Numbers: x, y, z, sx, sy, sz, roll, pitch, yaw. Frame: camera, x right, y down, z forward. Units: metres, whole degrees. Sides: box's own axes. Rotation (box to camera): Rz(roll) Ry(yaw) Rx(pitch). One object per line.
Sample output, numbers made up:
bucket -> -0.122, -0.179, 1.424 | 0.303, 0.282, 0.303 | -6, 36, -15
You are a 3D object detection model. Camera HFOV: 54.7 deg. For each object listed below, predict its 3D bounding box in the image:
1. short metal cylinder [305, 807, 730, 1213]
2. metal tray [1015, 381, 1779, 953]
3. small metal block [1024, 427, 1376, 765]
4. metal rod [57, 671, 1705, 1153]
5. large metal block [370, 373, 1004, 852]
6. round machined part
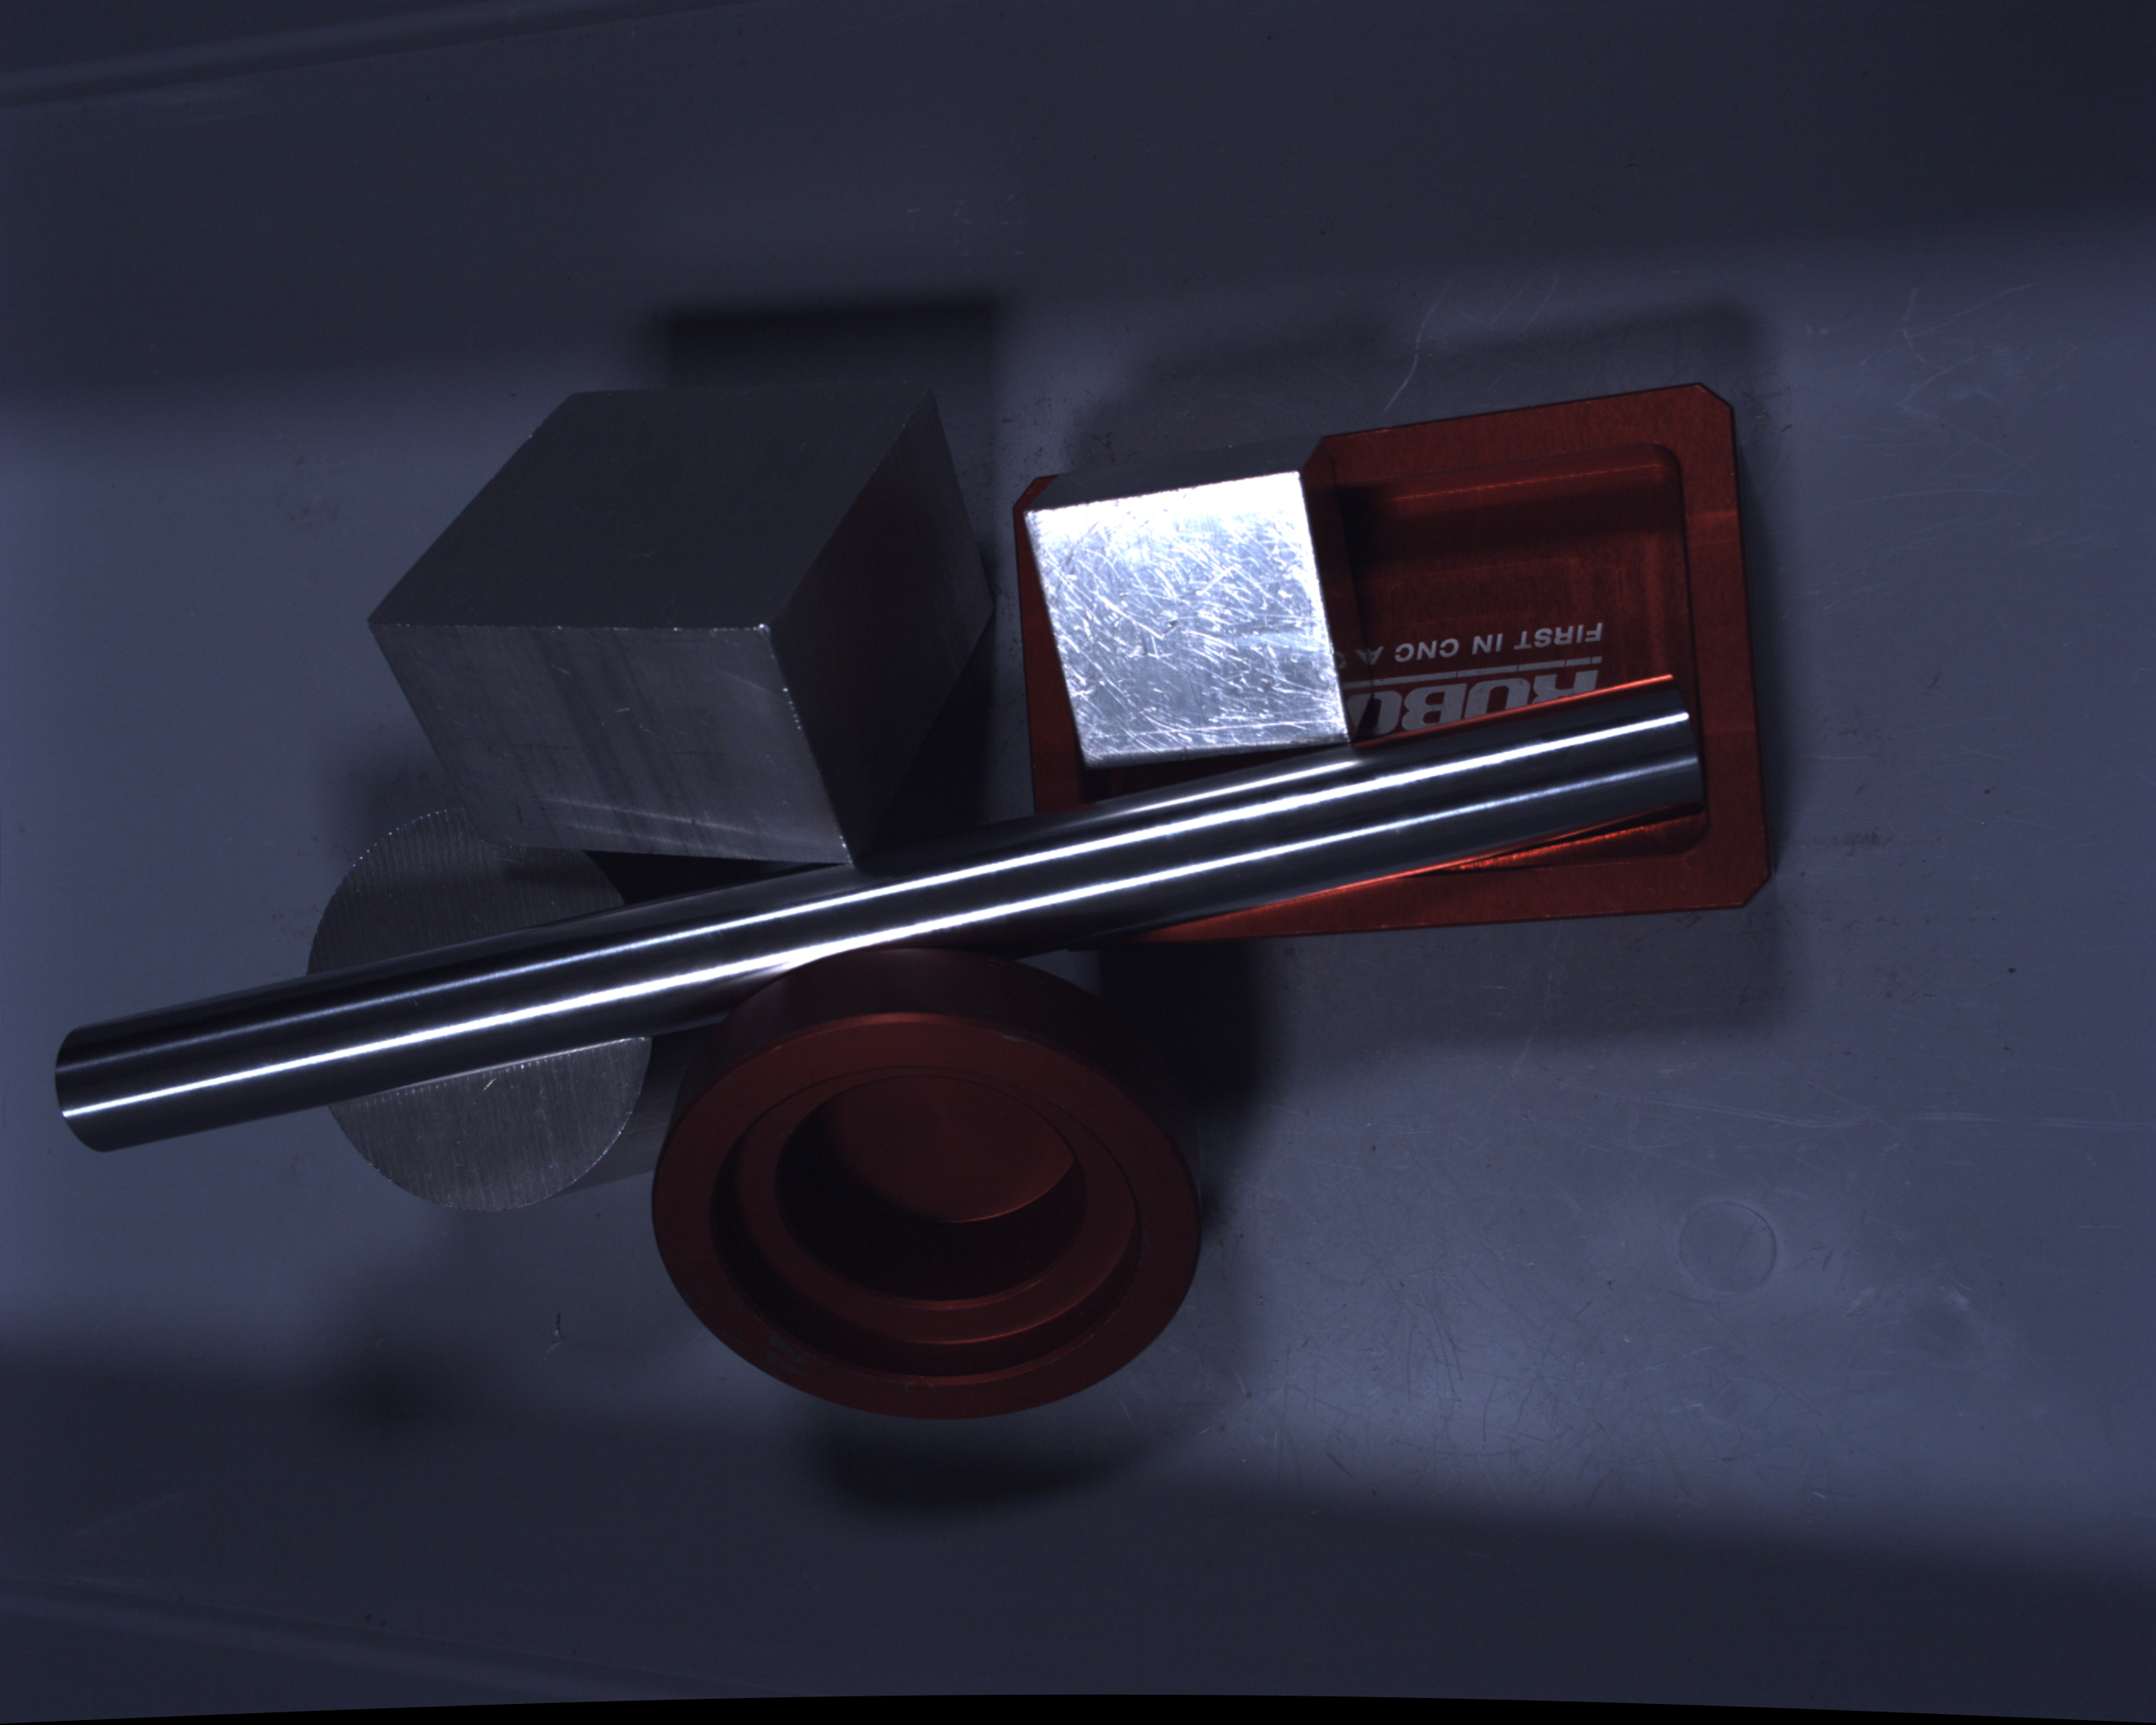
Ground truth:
short metal cylinder -> -0.111, 0.029, 0.432 | 0.080, 0.050, 0.079 | 0, 90, 19
metal tray -> 0.057, -0.032, 0.385 | 0.130, 0.030, 0.089 | -5, 88, 19
small metal block -> 0.023, -0.048, 0.377 | 0.050, 0.025, 0.050 | -5, 115, 20
metal rod -> -0.041, 0.011, 0.378 | 0.301, 0.025, 0.025 | -12, 86, 8
large metal block -> -0.070, -0.049, 0.395 | 0.080, 0.080, 0.050 | 3, 133, 20
round machined part -> -0.027, 0.055, 0.391 | 0.099, 0.042, 0.097 | 1, 122, 2
